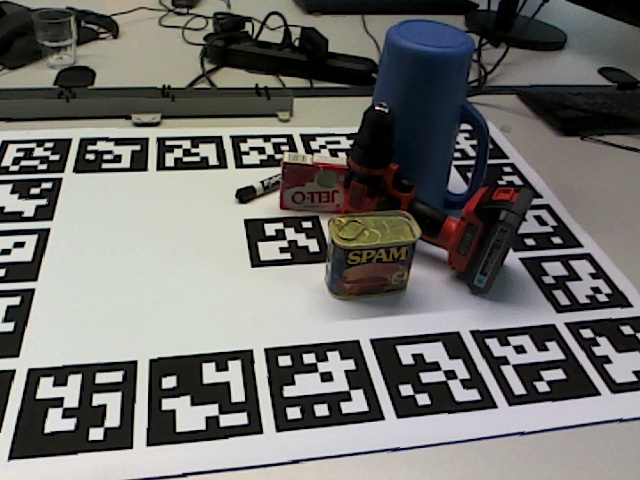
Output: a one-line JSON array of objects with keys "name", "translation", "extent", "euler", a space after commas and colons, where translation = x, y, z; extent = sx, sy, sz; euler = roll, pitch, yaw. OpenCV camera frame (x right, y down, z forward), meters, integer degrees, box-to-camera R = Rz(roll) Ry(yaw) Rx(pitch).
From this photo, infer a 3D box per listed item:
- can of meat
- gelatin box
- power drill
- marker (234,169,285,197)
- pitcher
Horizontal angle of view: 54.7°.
[{"name": "can of meat", "translation": [0.055, 0.020, 0.711], "extent": [0.101, 0.083, 0.058], "euler": [-4, 38, -12]}, {"name": "gelatin box", "translation": [-0.004, -0.074, 0.836], "extent": [0.089, 0.073, 0.030], "euler": [5, 43, -3]}, {"name": "power drill", "translation": [0.113, -0.060, 0.744], "extent": [0.187, 0.184, 0.057], "euler": [24, 44, 12]}, {"name": "marker", "translation": [-0.069, -0.087, 0.882], "extent": [0.120, 0.019, 0.020], "euler": [-24, 48, -30]}, {"name": "pitcher", "translation": [0.143, -0.145, 0.817], "extent": [0.189, 0.242, 0.133], "euler": [13, 42, 19]}]
